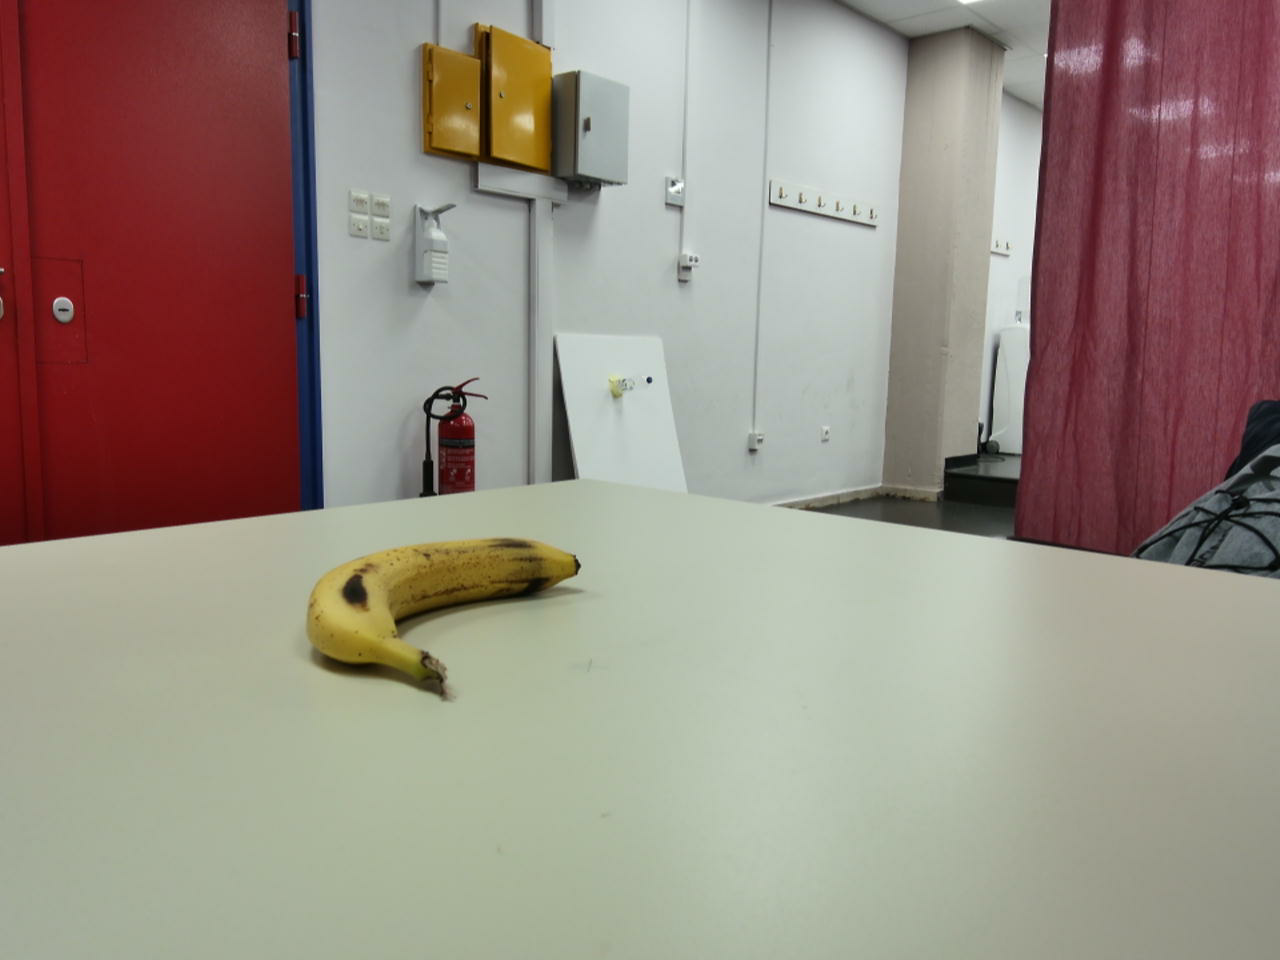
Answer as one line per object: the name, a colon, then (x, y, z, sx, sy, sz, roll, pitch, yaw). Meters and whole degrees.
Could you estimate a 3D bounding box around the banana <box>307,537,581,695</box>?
banana: (-0.104, 0.057, 0.506, 0.097, 0.038, 0.186, 2, 6, 13)
